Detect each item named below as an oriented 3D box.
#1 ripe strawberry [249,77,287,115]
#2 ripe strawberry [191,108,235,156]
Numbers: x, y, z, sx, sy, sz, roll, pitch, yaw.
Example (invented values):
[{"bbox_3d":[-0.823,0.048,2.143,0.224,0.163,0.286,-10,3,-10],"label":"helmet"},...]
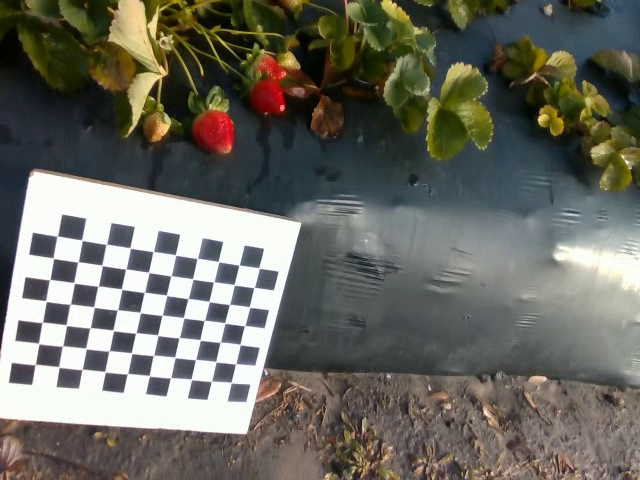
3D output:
[{"bbox_3d":[-0.060,-0.165,0.734,0.055,0.045,0.041,42,3,28],"label":"ripe strawberry"},{"bbox_3d":[-0.115,-0.116,0.689,0.050,0.065,0.050,-28,-33,-5],"label":"ripe strawberry"}]
